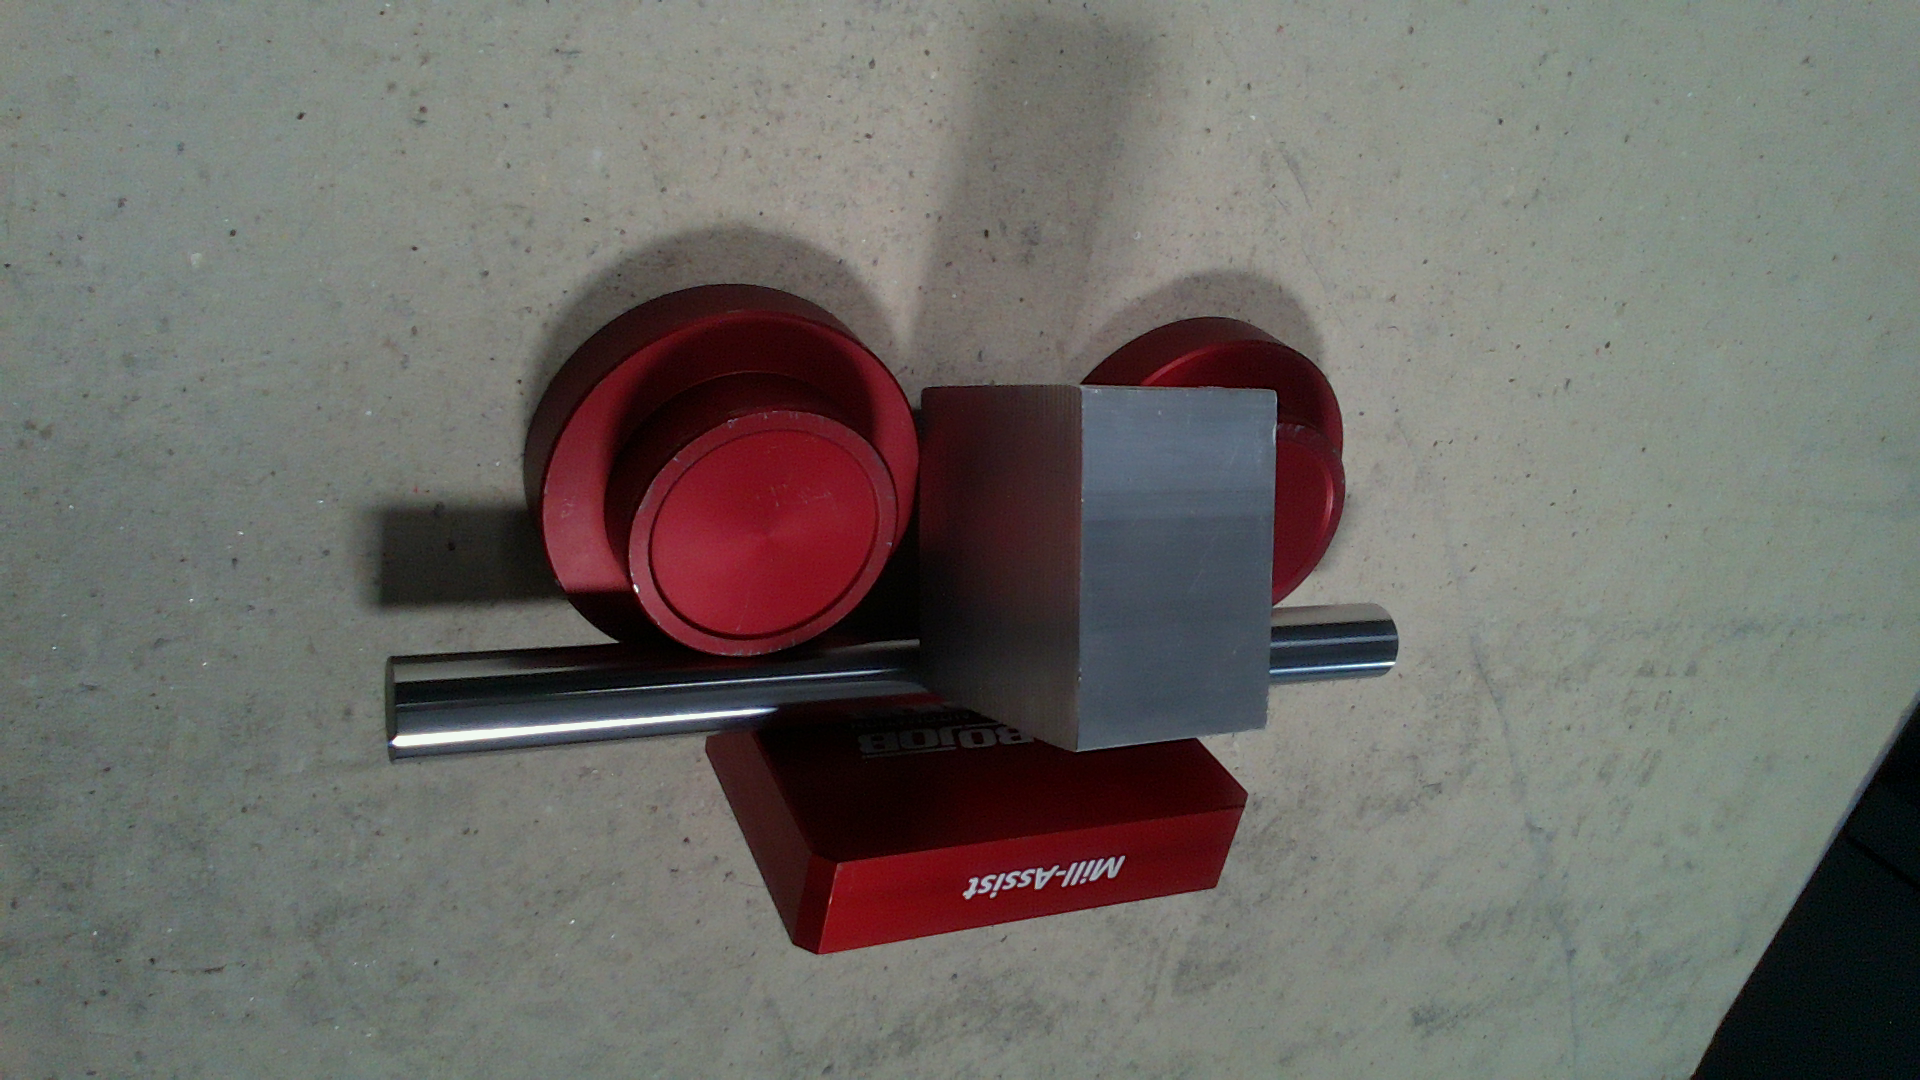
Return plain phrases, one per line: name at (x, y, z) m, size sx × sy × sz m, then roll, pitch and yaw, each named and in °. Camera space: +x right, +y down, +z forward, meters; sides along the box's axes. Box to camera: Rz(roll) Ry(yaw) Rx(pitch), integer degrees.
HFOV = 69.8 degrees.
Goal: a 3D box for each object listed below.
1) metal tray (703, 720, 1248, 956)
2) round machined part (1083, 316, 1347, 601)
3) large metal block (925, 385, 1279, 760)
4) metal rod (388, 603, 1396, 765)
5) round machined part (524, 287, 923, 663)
metal tray at (0.003, 0.066, 0.389) m, size 0.130 × 0.090 × 0.030 m, roll -1°, pitch 119°, yaw -28°
round machined part at (0.075, -0.013, 0.410) m, size 0.098 × 0.042 × 0.098 m, roll -14°, pitch 124°, yaw -21°
large metal block at (0.031, 0.003, 0.338) m, size 0.050 × 0.080 × 0.080 m, roll -3°, pitch 96°, yaw -28°
metal rod at (0.002, 0.036, 0.386) m, size 0.301 × 0.025 × 0.025 m, roll -1°, pitch 119°, yaw -28°
round machined part at (-0.054, -0.009, 0.341) m, size 0.098 × 0.042 × 0.098 m, roll -14°, pitch 124°, yaw -21°
